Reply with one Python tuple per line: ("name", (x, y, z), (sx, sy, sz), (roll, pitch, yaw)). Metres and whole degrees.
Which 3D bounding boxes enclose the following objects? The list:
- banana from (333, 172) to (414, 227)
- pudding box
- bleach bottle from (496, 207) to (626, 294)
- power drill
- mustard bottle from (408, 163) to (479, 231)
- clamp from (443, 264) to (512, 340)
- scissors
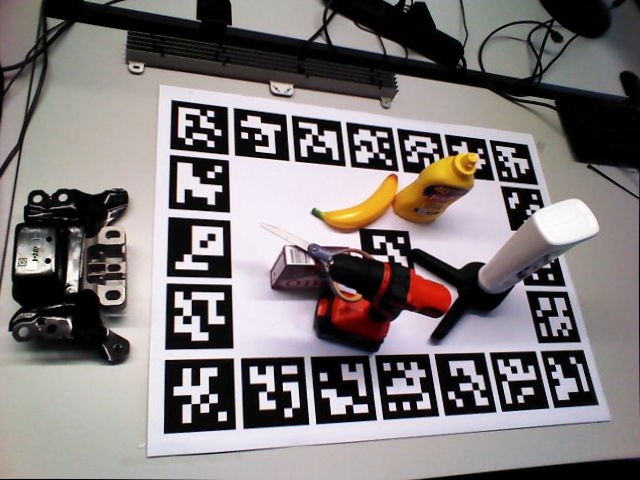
("banana", (0.115, -0.075, 0.932), (0.074, 0.039, 0.196), (41, 60, 20))
("pudding box", (0.005, 0.049, 0.816), (0.114, 0.090, 0.038), (8, 59, -17))
("bleach bottle", (0.366, 0.038, 0.844), (0.102, 0.252, 0.068), (-17, 71, -18))
("power drill", (0.091, 0.101, 0.736), (0.184, 0.188, 0.057), (15, 57, -10))
("mustard bottle", (0.239, -0.080, 0.903), (0.096, 0.193, 0.058), (17, 63, -14))
("clamp", (0.300, 0.090, 0.919), (0.202, 0.037, 0.165), (-2, 71, -22))
("scissors", (0.016, 0.017, 0.760), (0.203, 0.016, 0.087), (29, 65, -12))
